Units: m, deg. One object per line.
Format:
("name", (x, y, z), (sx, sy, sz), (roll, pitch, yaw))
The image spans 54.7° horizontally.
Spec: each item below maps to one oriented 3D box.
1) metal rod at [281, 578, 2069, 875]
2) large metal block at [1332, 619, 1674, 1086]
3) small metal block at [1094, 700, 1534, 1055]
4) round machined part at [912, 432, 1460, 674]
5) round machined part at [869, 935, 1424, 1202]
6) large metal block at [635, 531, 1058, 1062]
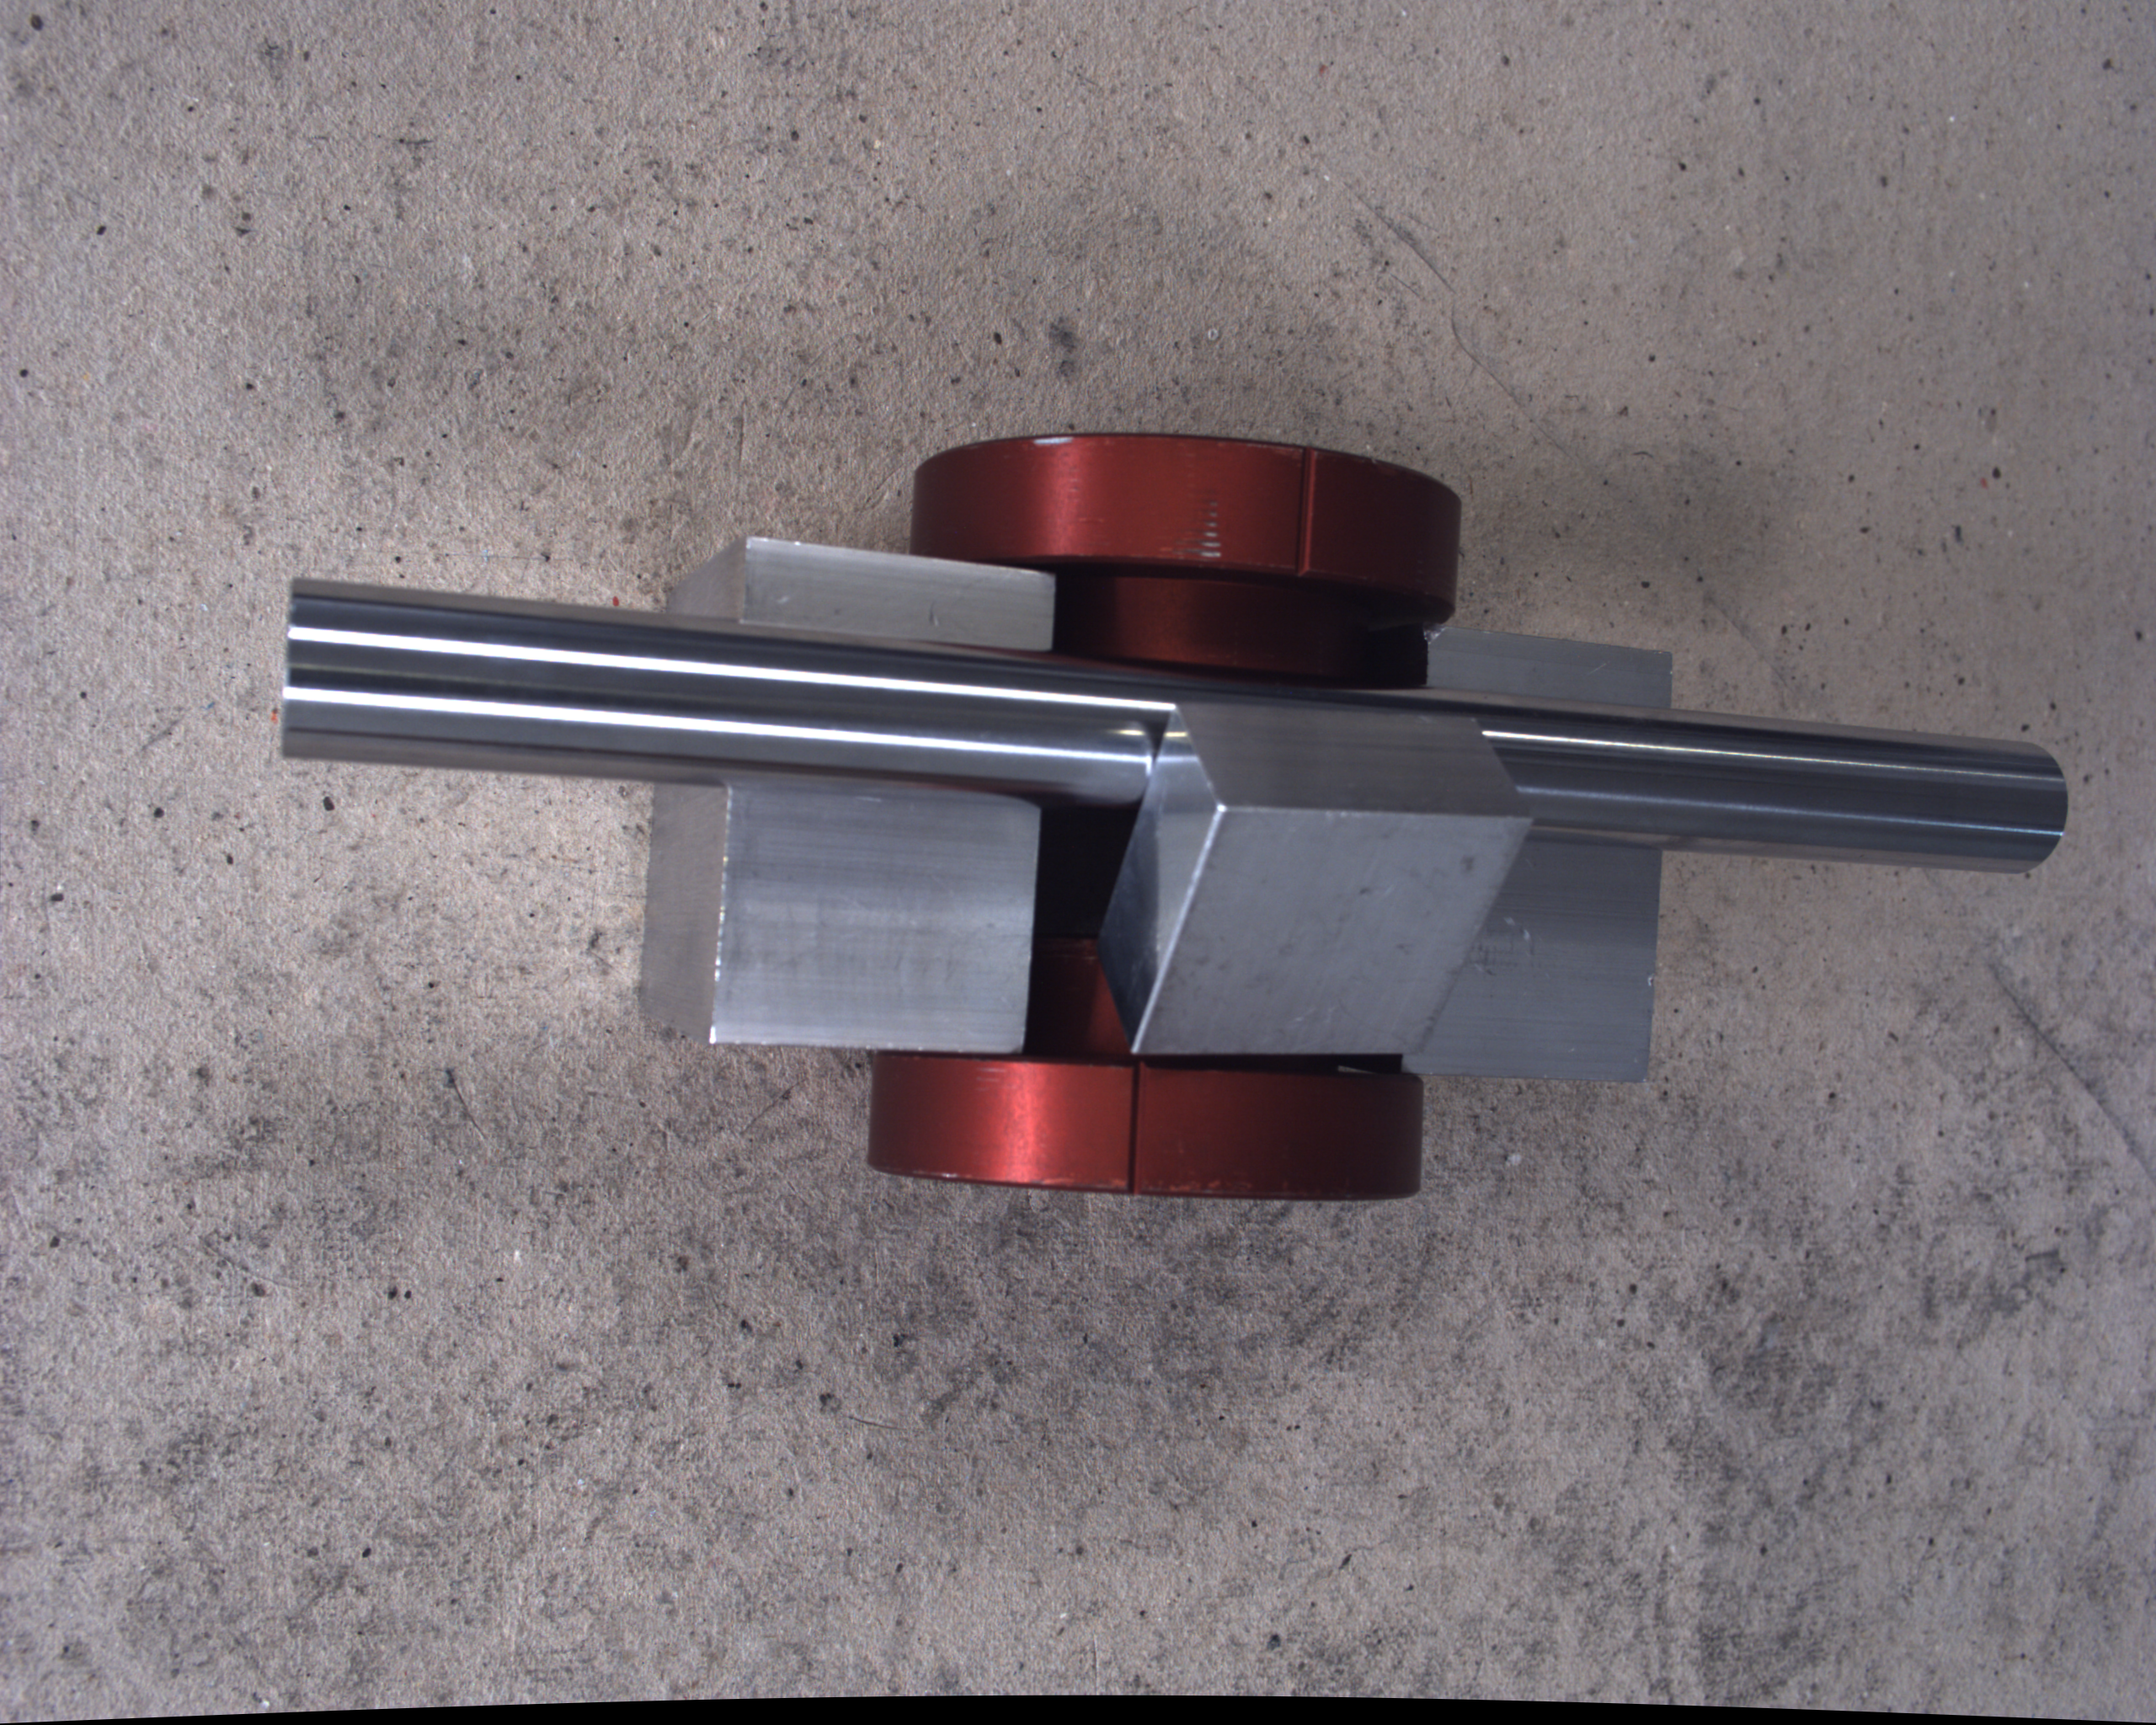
("metal rod", (0.033, -0.018, 0.337), (0.302, 0.025, 0.025), (3, 89, -20))
("large metal block", (0.068, -0.001, 0.406), (0.050, 0.080, 0.080), (4, 89, -20))
("small metal block", (0.035, 0.004, 0.324), (0.050, 0.025, 0.050), (2, 130, -19))
("round machined part", (0.018, -0.047, 0.378), (0.099, 0.098, 0.042), (4, 90, -20))
("round machined part", (0.013, 0.037, 0.376), (0.099, 0.098, 0.042), (5, 84, -20))
("large metal block", (-0.043, -0.010, 0.365), (0.050, 0.080, 0.080), (5, 89, -20))
